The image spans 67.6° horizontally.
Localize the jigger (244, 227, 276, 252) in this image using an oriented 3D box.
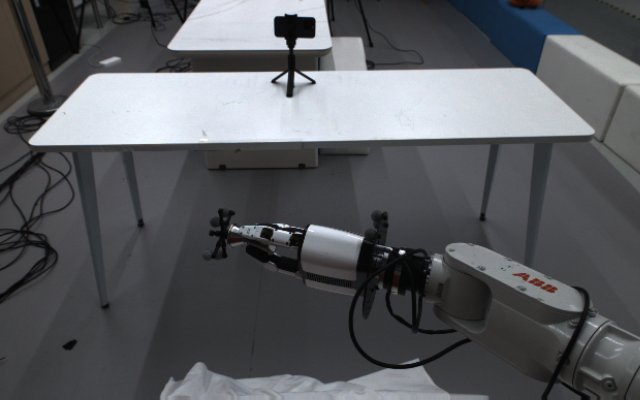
[{"bbox_3d":[-0.099,0.056,0.753,0.071,0.043,0.043,7,35,13],"label":"jigger"}]
